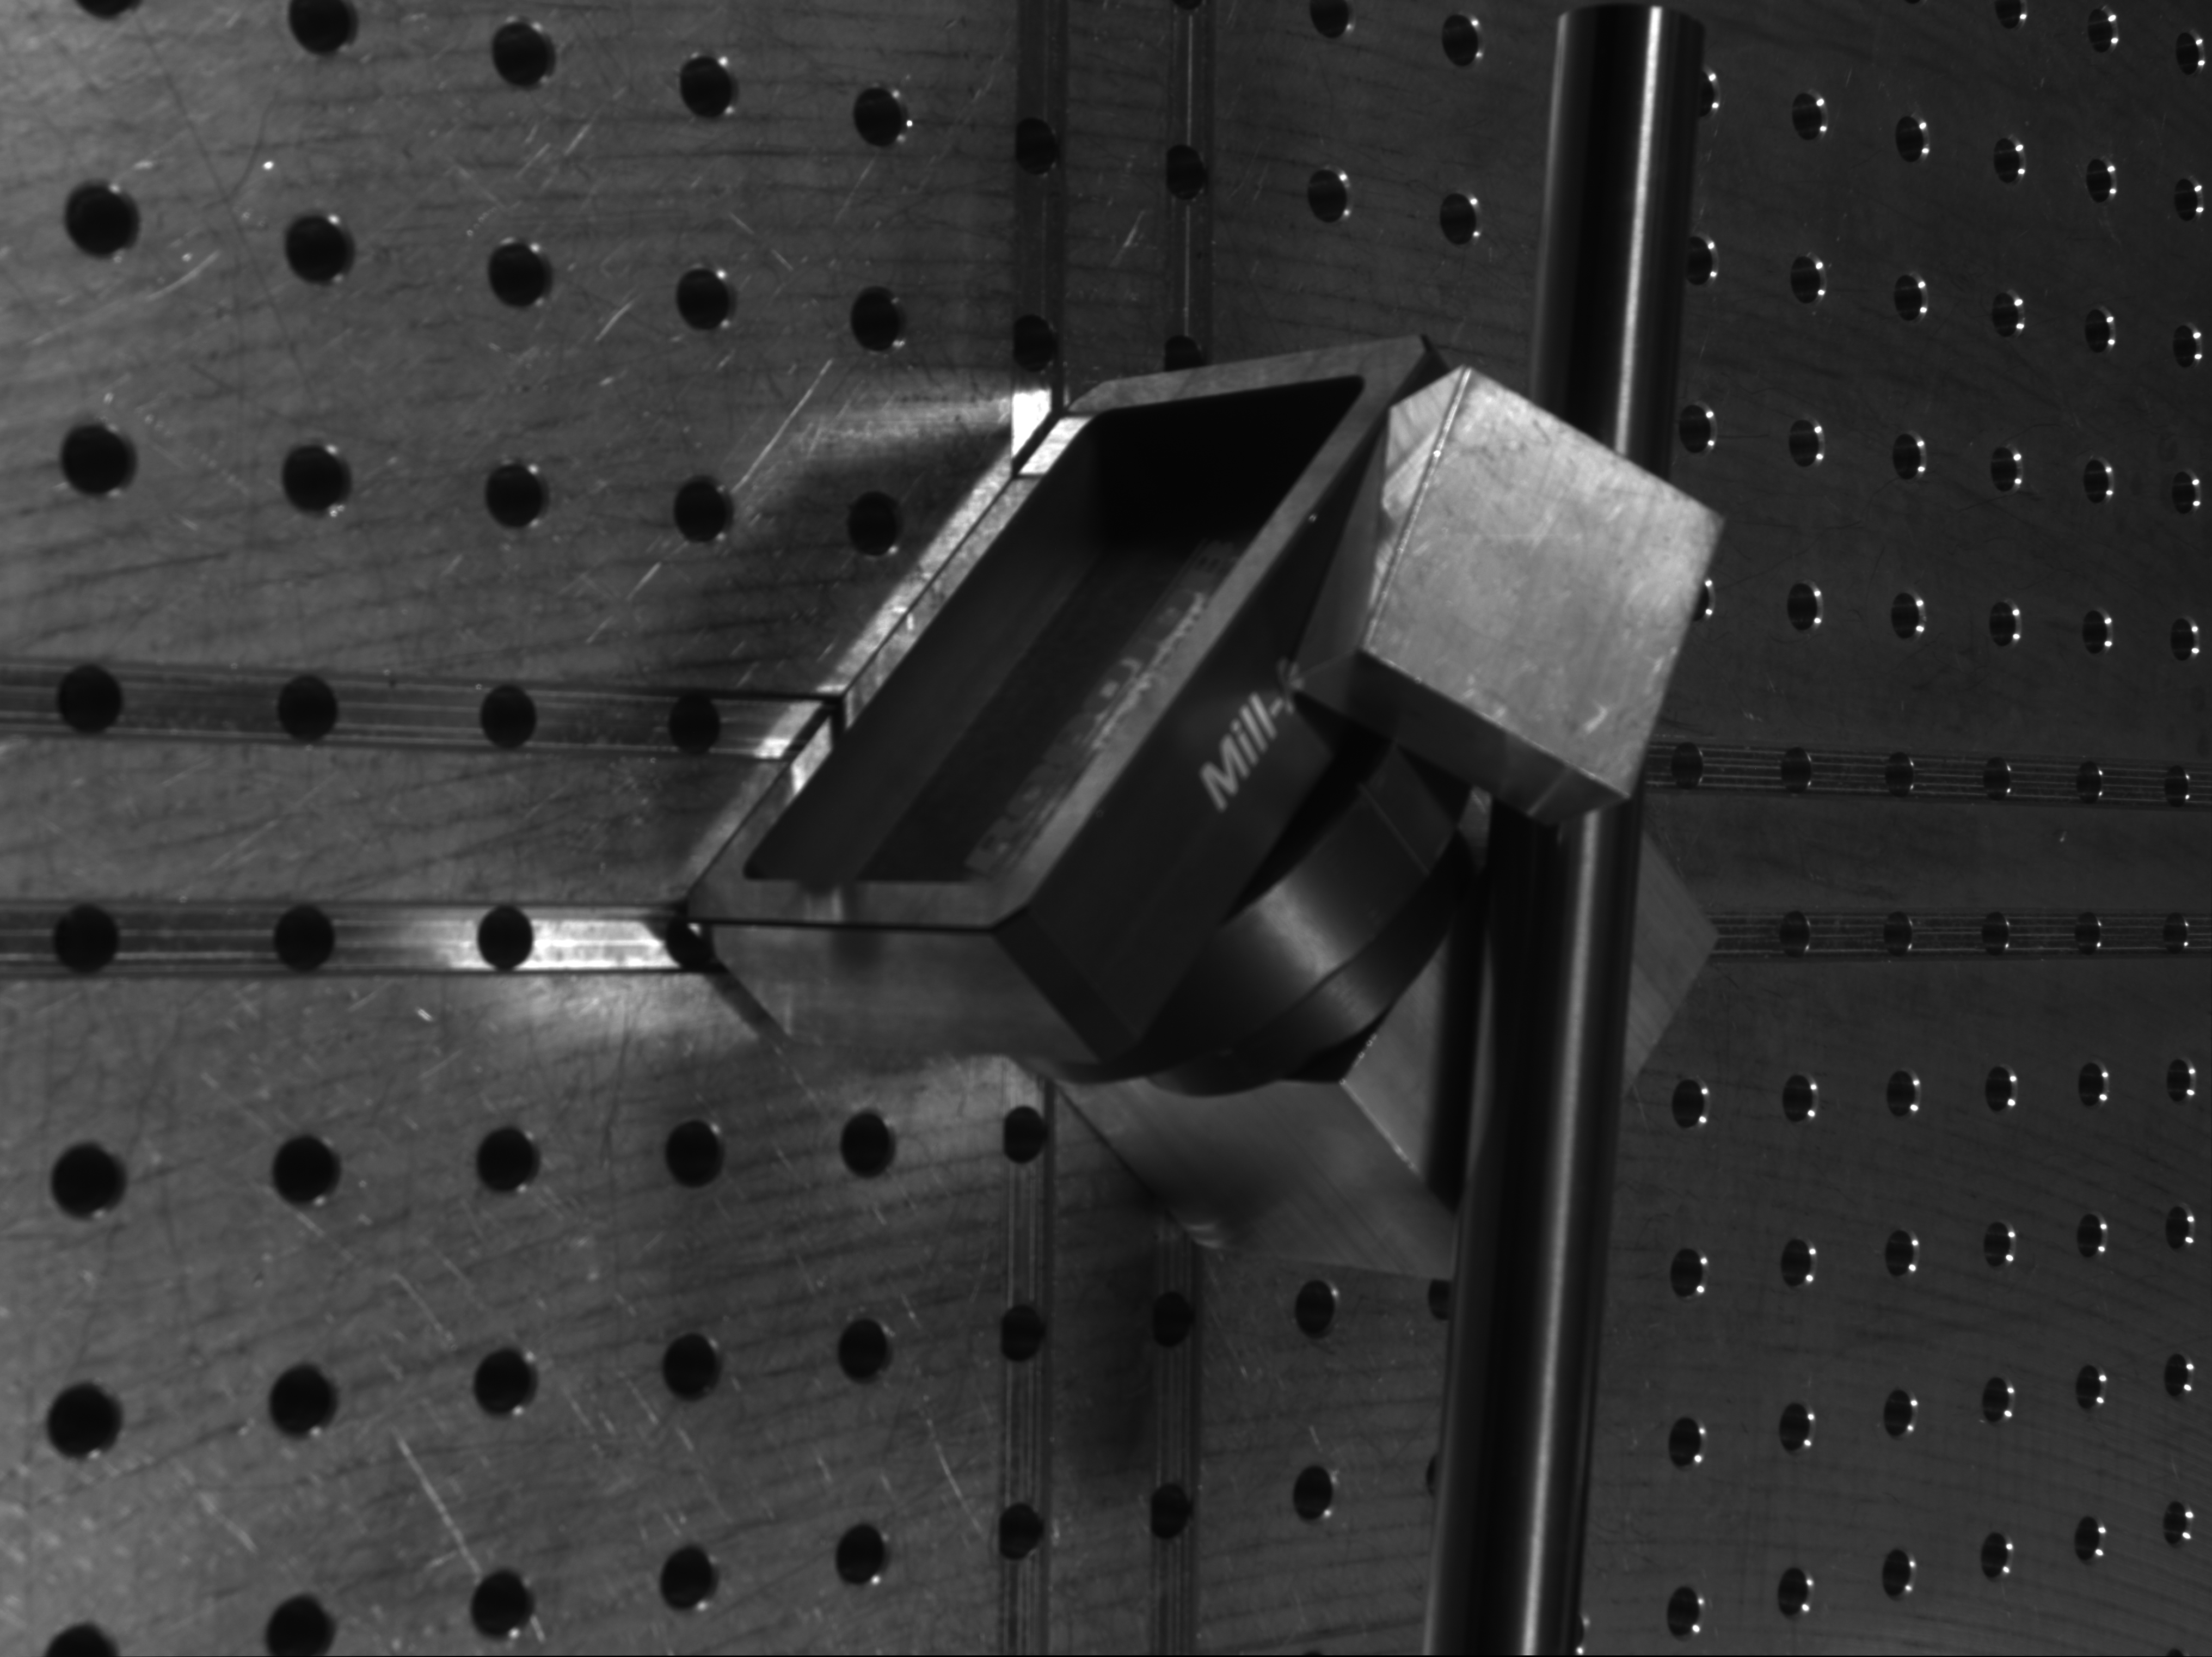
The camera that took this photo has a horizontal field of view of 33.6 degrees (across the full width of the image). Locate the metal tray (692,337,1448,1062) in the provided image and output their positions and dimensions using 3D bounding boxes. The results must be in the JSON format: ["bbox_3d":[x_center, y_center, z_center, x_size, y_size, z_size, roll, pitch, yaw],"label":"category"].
[{"bbox_3d":[0.000,-0.022,0.599,0.030,0.090,0.130,51,60,-28],"label":"metal tray"}]

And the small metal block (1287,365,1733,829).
[{"bbox_3d":[0.063,-0.035,0.566,0.050,0.025,0.050,27,70,-17],"label":"small metal block"}]

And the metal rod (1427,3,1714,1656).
[{"bbox_3d":[0.075,0.015,0.599,0.025,0.025,0.300,9,84,-39],"label":"metal rod"}]

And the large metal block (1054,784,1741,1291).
[{"bbox_3d":[0.051,0.032,0.643,0.050,0.080,0.080,50,60,-28],"label":"large metal block"}]

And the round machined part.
[{"bbox_3d":[0.018,0.004,0.613,0.042,0.098,0.098,50,61,-28],"label":"round machined part"}]
